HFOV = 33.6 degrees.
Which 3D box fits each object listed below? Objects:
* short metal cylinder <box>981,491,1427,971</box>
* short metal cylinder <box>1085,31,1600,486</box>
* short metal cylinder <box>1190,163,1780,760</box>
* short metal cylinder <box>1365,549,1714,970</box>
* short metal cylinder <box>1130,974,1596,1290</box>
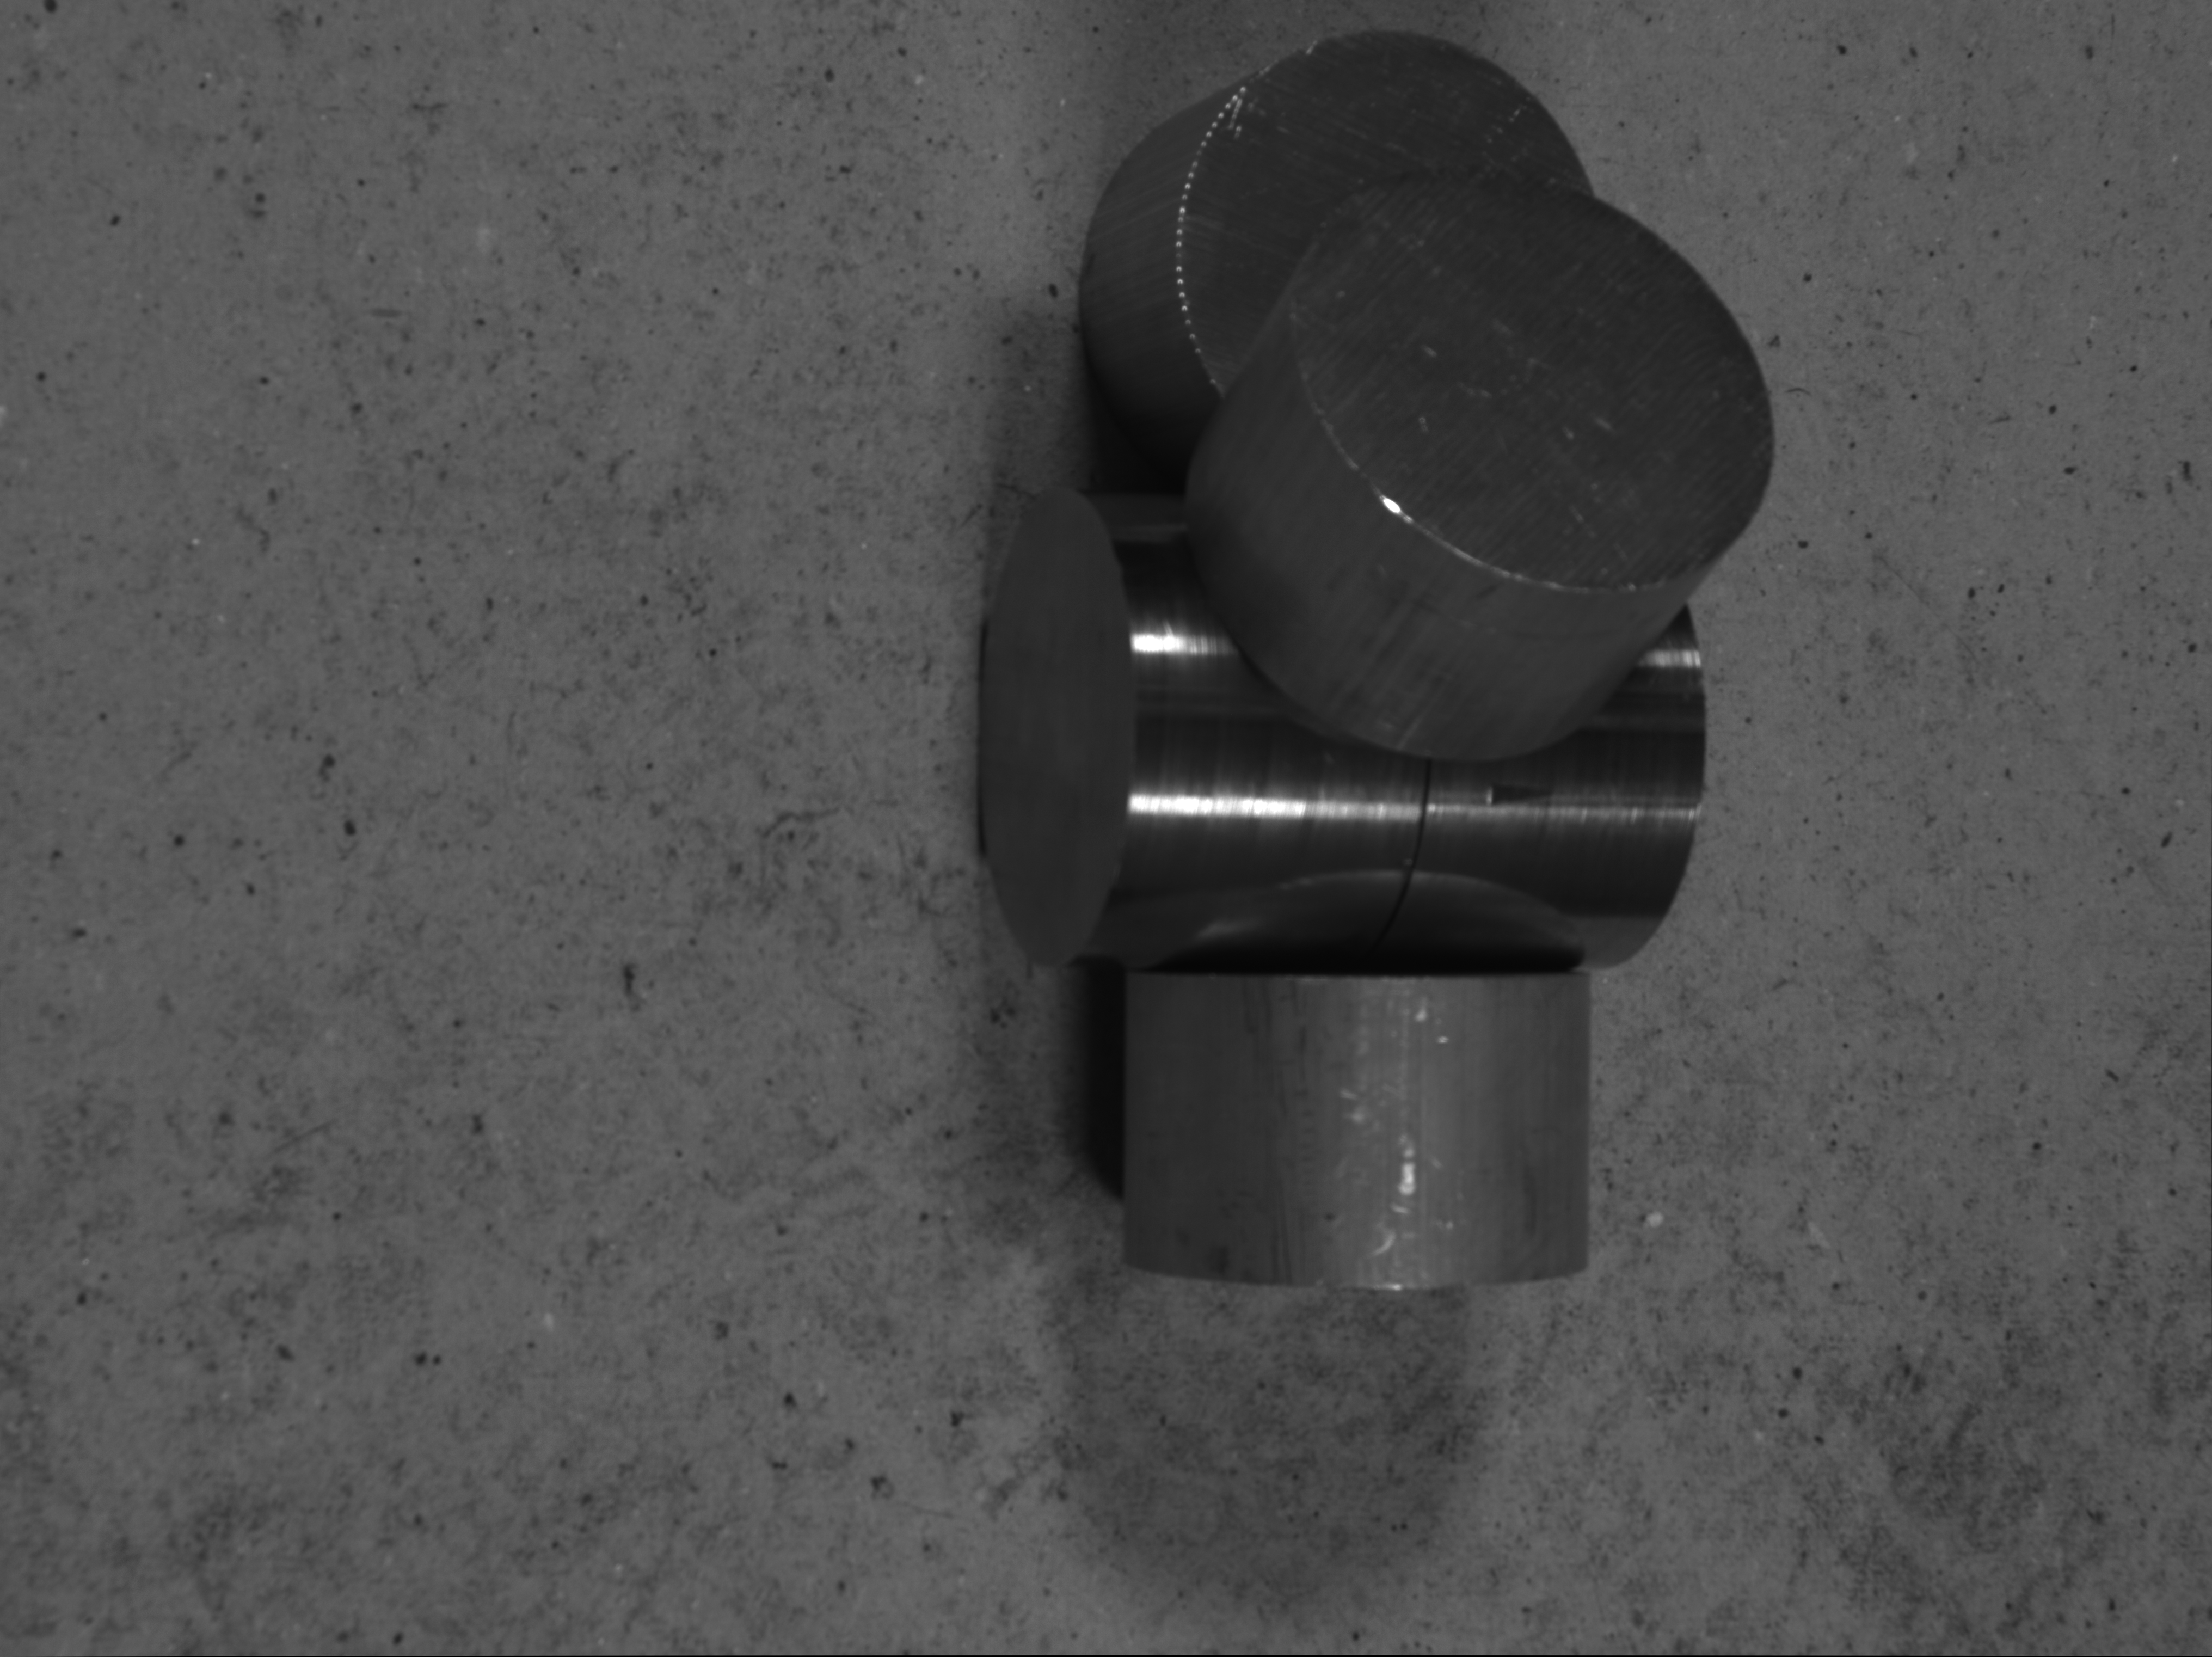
[{"bbox_3d":[0.015,-0.016,0.620,0.050,0.080,0.080,1,90,-20],"label":"short metal cylinder"},{"bbox_3d":[0.042,-0.096,0.647,0.080,0.050,0.080,0,90,-20],"label":"short metal cylinder"},{"bbox_3d":[0.059,-0.058,0.582,0.080,0.050,0.080,9,58,-15],"label":"short metal cylinder"},{"bbox_3d":[0.064,-0.015,0.637,0.050,0.080,0.080,0,90,-19],"label":"short metal cylinder"},{"bbox_3d":[0.044,0.050,0.631,0.080,0.080,0.050,0,90,-20],"label":"short metal cylinder"}]
